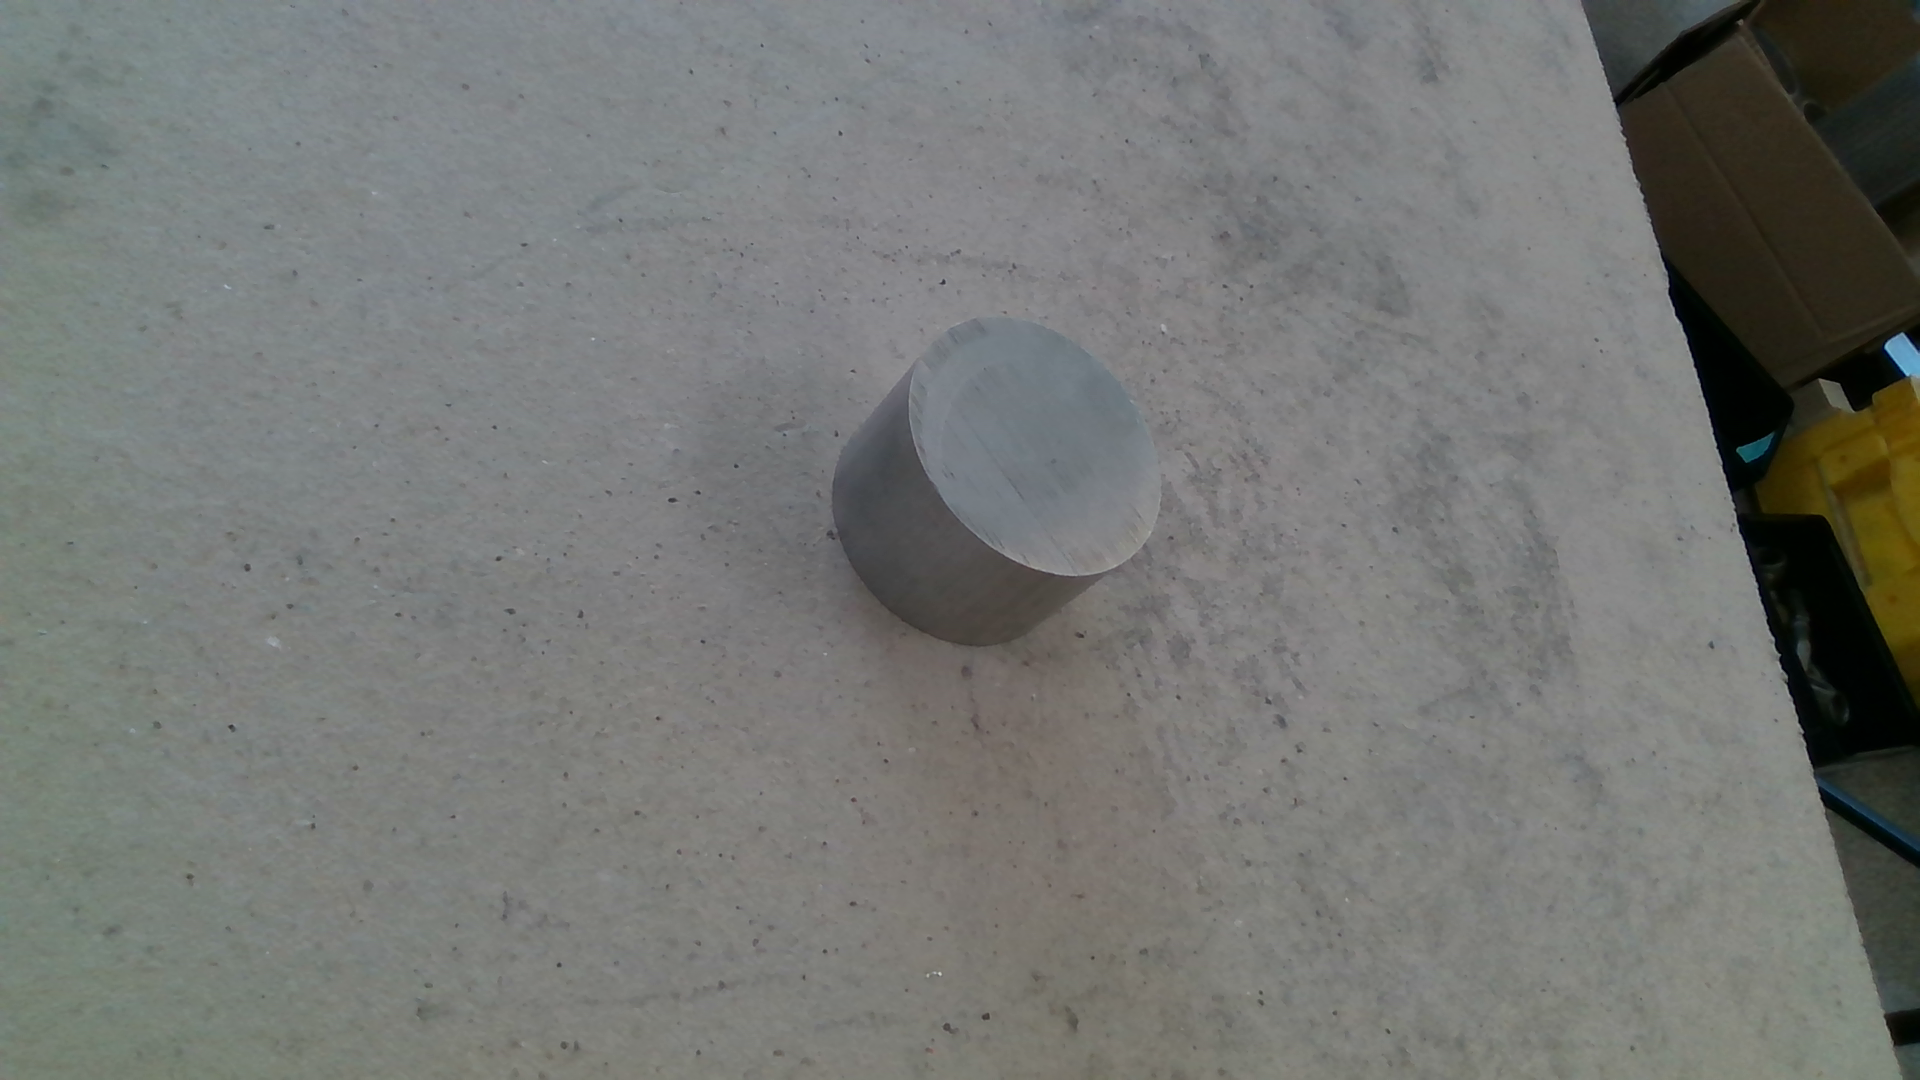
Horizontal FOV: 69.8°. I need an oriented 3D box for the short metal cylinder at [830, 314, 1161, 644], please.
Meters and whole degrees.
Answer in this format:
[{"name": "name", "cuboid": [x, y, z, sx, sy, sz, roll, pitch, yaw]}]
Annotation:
[{"name": "short metal cylinder", "cuboid": [0.010, -0.017, 0.392, 0.080, 0.050, 0.080, 14, 60, -25]}]
